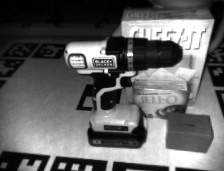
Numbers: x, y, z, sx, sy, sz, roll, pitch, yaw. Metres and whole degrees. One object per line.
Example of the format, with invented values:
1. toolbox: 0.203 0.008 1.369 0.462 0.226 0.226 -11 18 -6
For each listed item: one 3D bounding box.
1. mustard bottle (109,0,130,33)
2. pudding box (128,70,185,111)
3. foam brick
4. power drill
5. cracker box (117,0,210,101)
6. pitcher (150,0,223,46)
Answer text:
1. mustard bottle: 0.039 -0.129 0.552 0.095 0.193 0.058 12 46 20
2. pudding box: 0.094 0.011 0.462 0.113 0.091 0.038 1 41 13
3. foam brick: 0.142 0.081 0.428 0.077 0.052 0.052 4 45 12
4. power drill: 0.015 -0.003 0.382 0.184 0.188 0.057 2 39 9
5. cracker box: 0.105 -0.061 0.460 0.163 0.215 0.072 -1 40 11
6. pitcher: 0.168 -0.131 0.522 0.187 0.244 0.133 5 43 17
